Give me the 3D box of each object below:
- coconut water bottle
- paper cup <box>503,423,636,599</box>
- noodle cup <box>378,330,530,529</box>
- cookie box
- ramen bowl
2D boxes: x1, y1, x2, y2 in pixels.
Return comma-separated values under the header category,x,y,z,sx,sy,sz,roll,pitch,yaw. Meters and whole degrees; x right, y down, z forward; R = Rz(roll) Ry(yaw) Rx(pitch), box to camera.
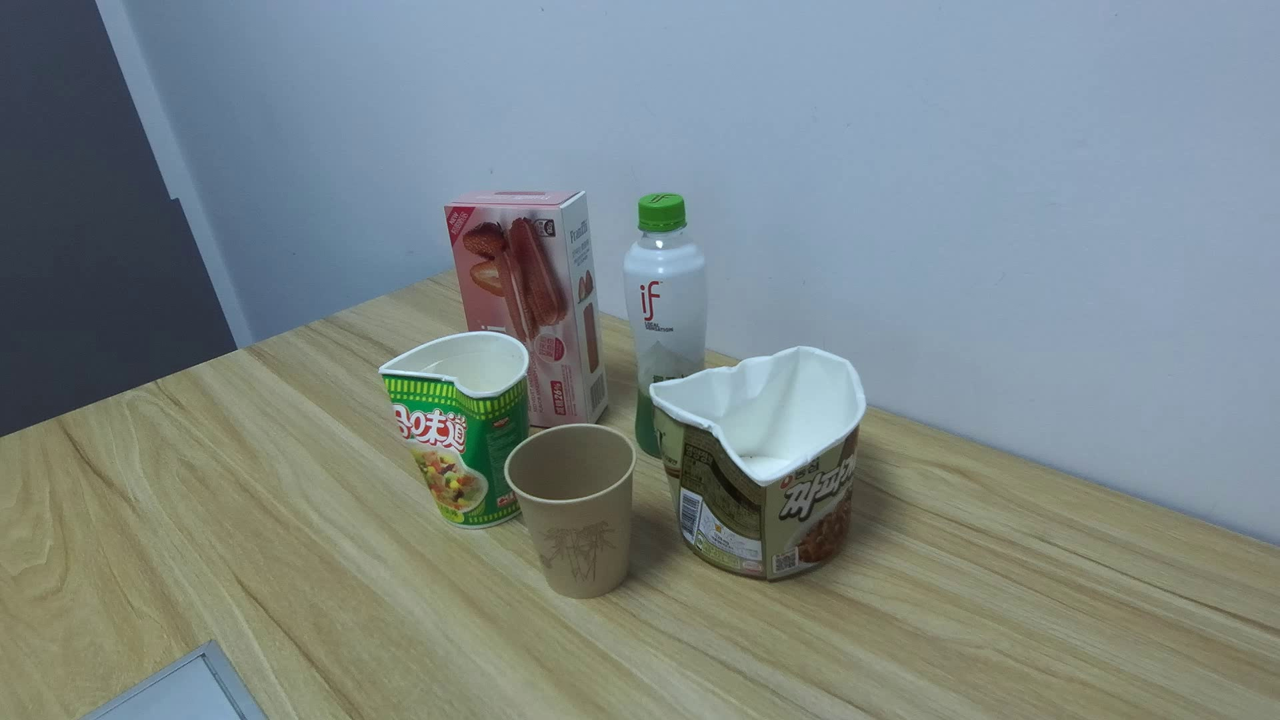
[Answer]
category,x,y,z,sx,sy,sz,roll,pitch,yaw
coconut water bottle,0.021,-0.021,0.504,0.063,0.189,0.063,-4,26,2
paper cup,-0.036,0.093,0.420,0.075,0.082,0.075,-4,29,2
noodle cup,-0.110,0.050,0.481,0.087,0.109,0.093,-25,35,-32
cookie box,-0.084,-0.036,0.555,0.096,0.185,0.048,4,28,18
ramen bowl,0.084,0.058,0.444,0.134,0.098,0.113,-24,33,-30
